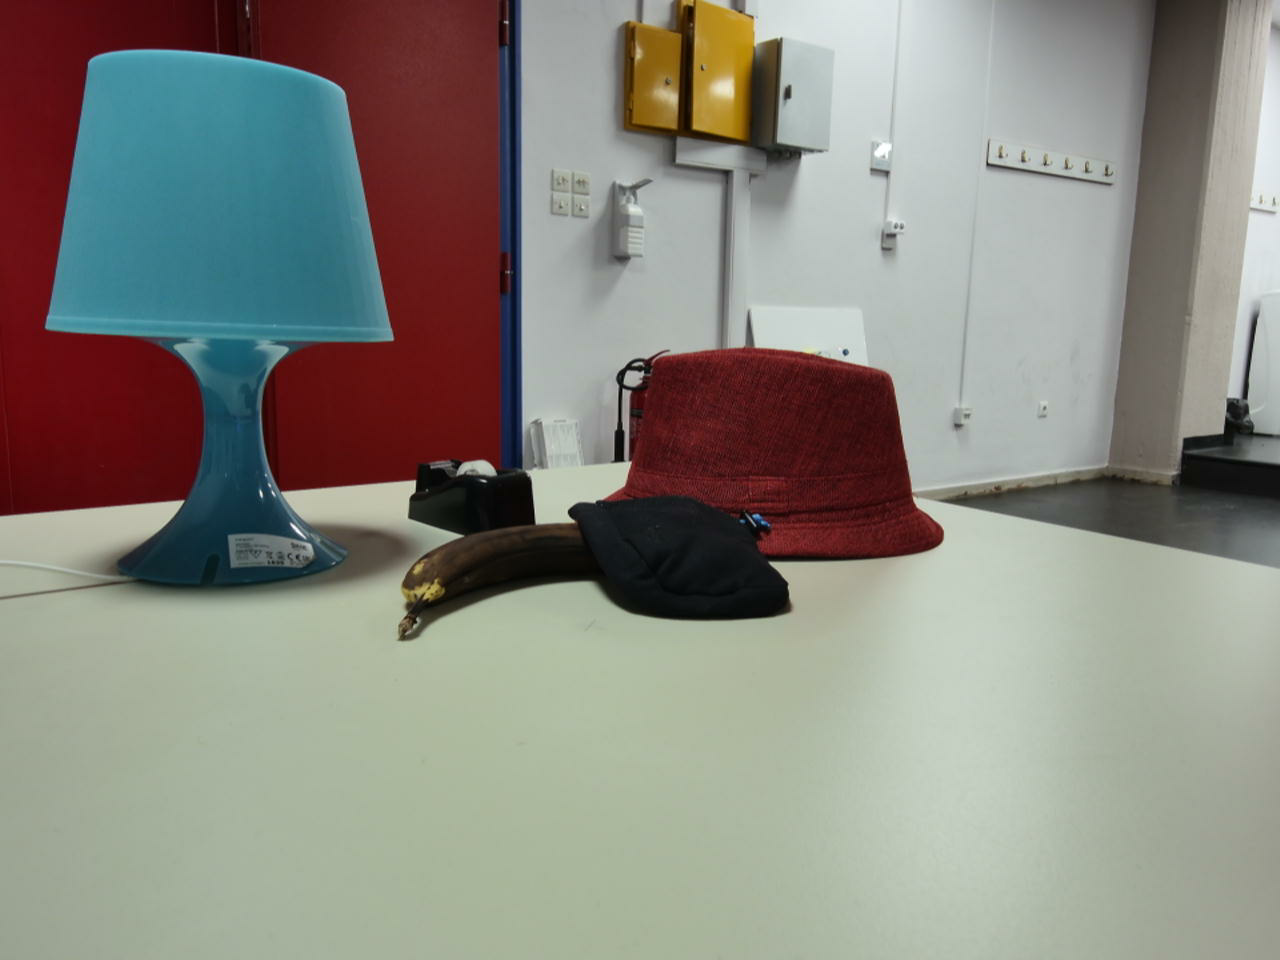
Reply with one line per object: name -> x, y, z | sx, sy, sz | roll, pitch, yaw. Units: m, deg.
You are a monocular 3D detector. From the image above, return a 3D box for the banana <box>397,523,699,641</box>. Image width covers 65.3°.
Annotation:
banana -> -0.062, 0.047, 0.570 | 0.188, 0.033, 0.091 | -5, 9, -35
